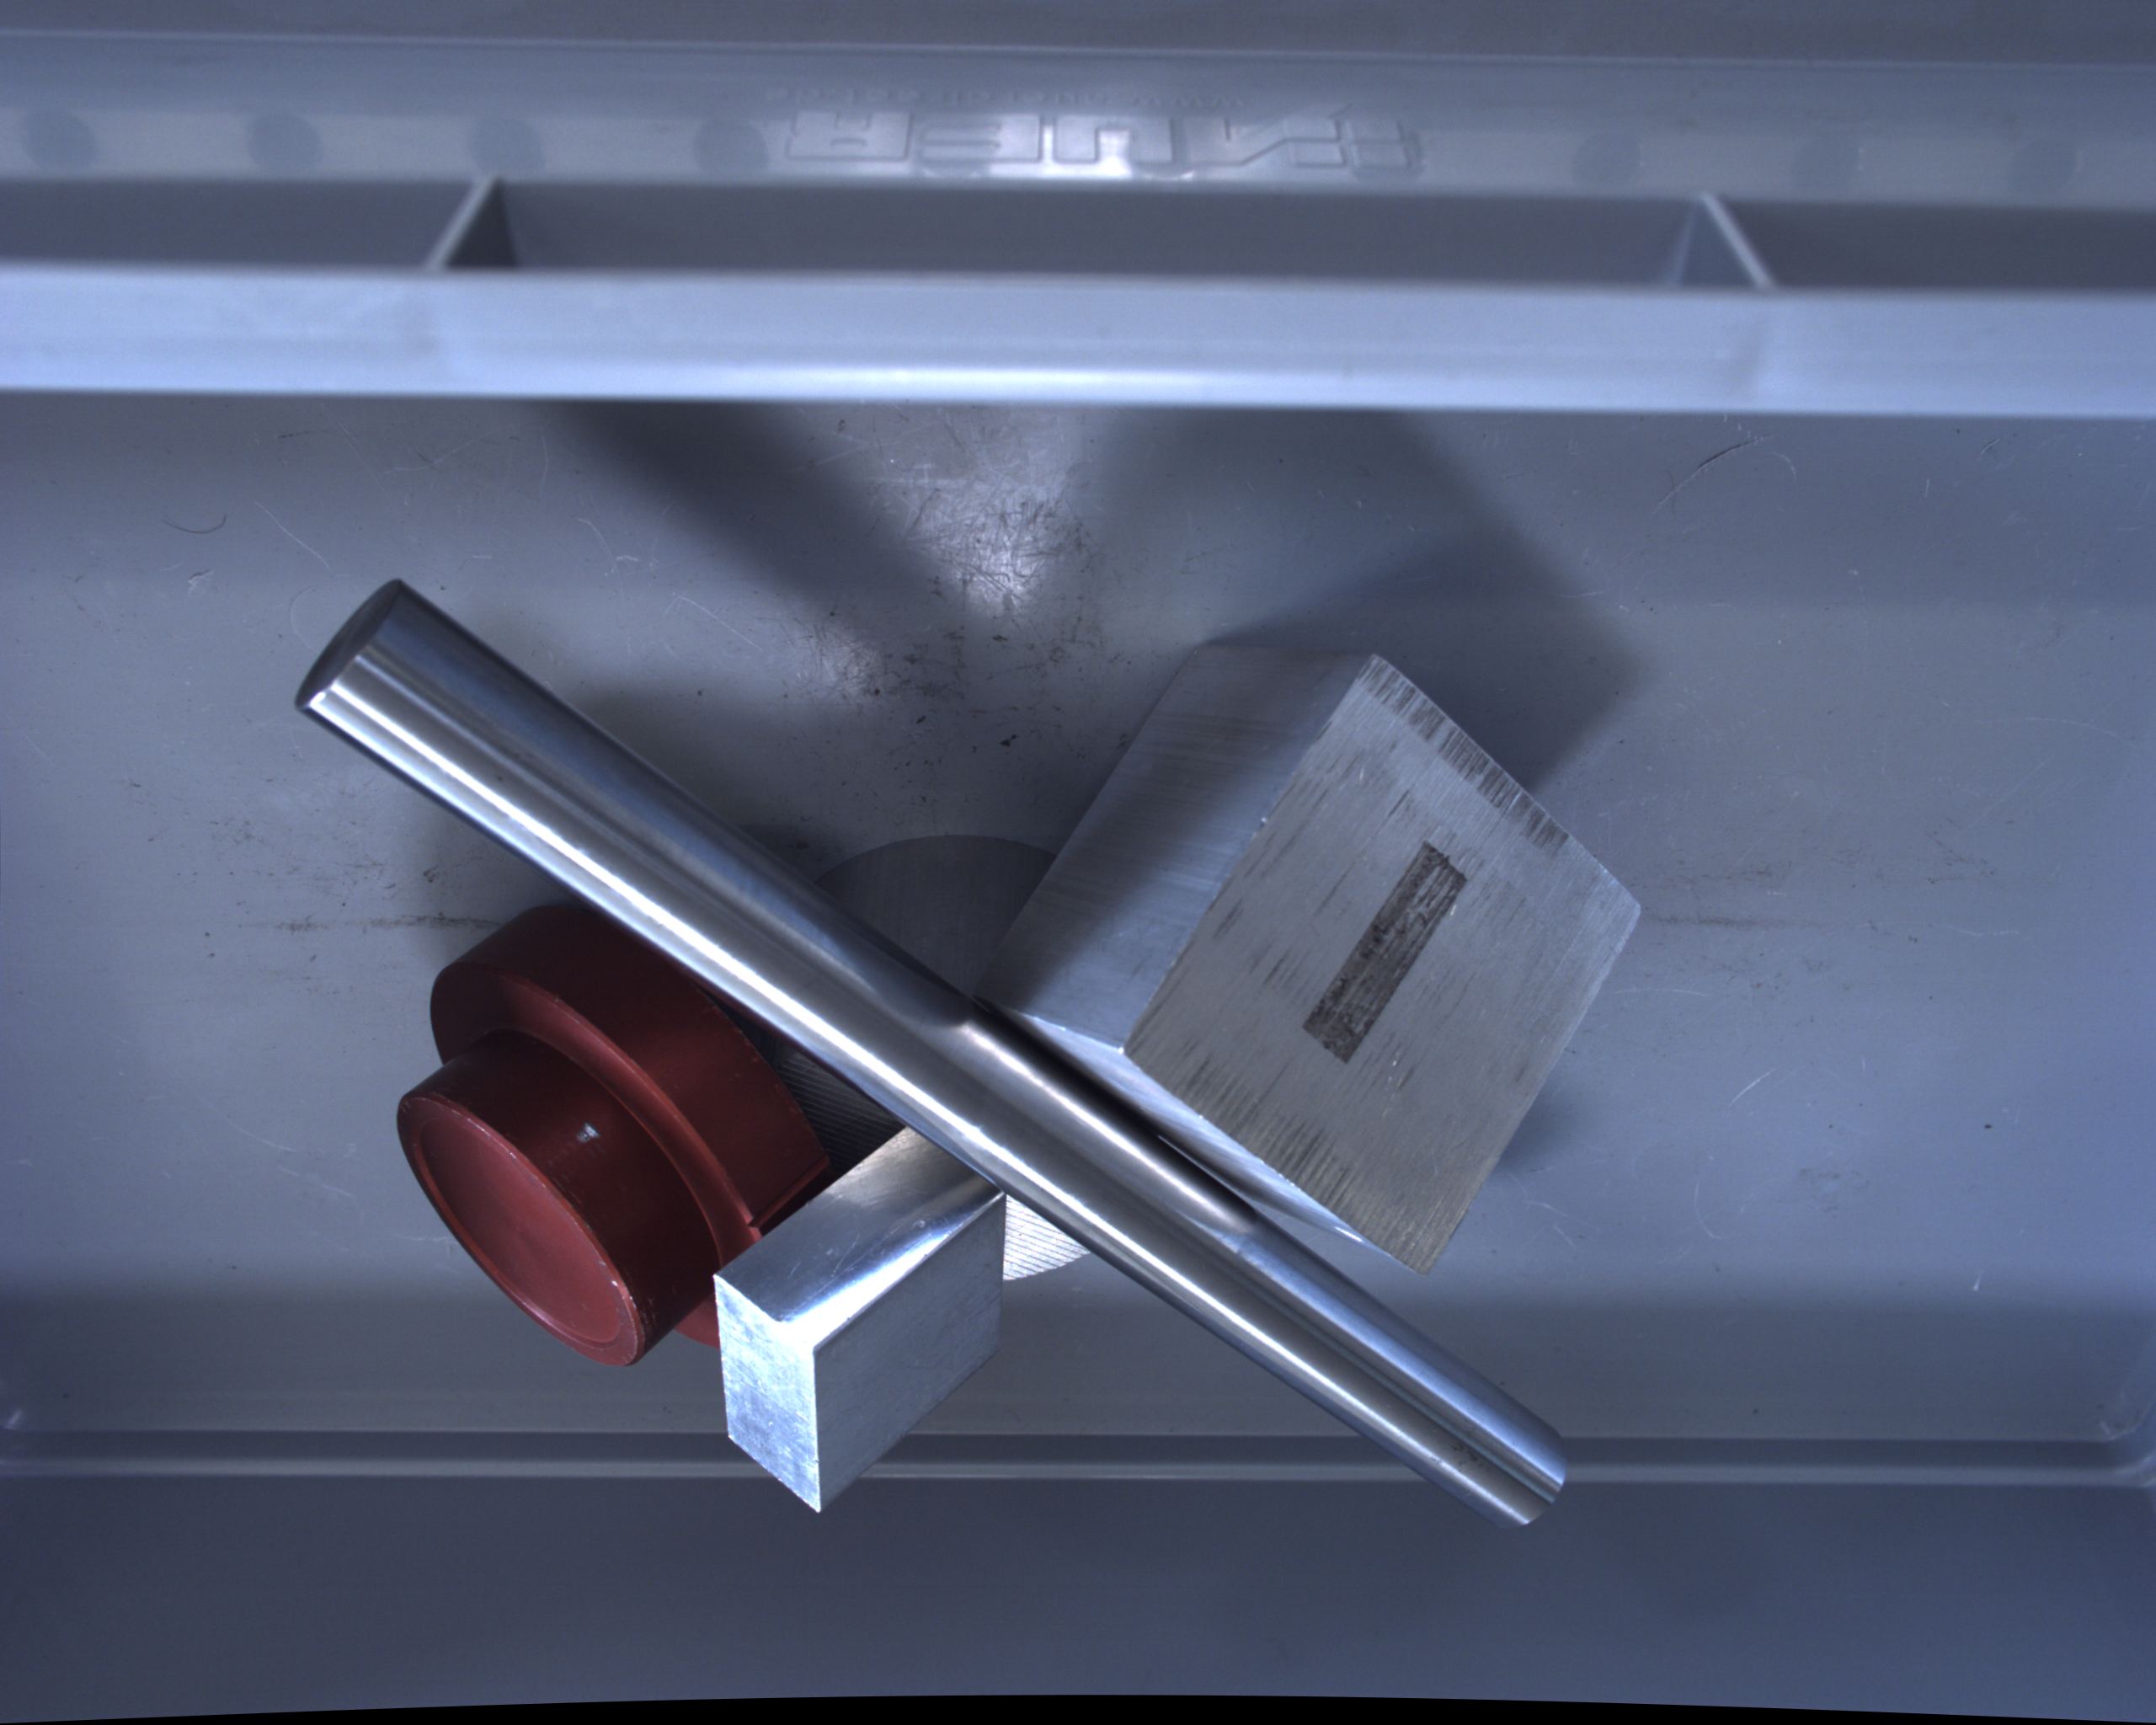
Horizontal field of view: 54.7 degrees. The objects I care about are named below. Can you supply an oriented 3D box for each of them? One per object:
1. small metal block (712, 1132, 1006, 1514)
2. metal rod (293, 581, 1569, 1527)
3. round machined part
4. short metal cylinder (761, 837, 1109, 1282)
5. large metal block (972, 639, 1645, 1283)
[{"bbox_3d":[-0.040,0.086,0.395,0.025,0.050,0.050,31,137,28],"label":"small metal block"},{"bbox_3d":[-0.006,0.050,0.384,0.025,0.025,0.301,-36,122,26],"label":"metal rod"},{"bbox_3d":[-0.095,0.060,0.412,0.098,0.042,0.097,28,141,26],"label":"round machined part"},{"bbox_3d":[-0.024,0.041,0.425,0.081,0.050,0.079,0,130,0],"label":"short metal cylinder"},{"bbox_3d":[0.042,0.016,0.376,0.080,0.050,0.080,39,77,-28],"label":"large metal block"}]
